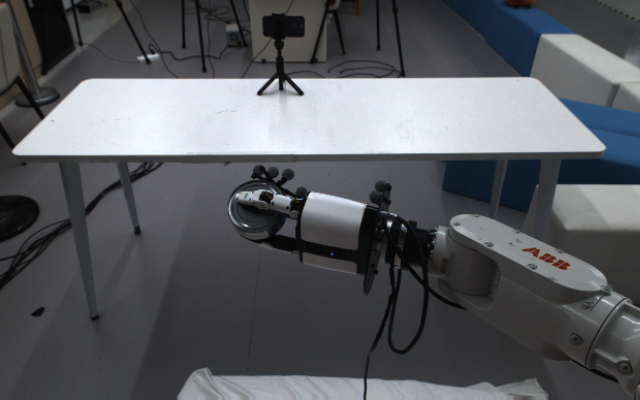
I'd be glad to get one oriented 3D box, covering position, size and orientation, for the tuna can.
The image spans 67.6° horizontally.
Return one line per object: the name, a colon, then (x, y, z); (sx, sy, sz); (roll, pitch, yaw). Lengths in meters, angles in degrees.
tuna can: (-0.092, 0.015, 0.716); (0.085, 0.034, 0.085); (-1, 60, 3)
